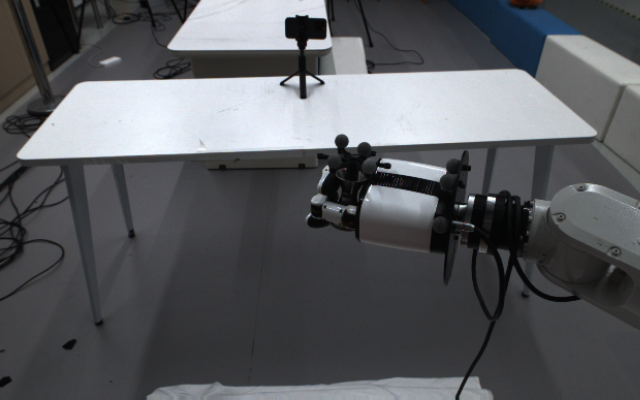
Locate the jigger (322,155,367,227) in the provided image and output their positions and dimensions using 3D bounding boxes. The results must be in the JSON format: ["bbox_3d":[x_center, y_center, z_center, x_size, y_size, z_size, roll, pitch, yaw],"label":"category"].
[{"bbox_3d":[0.034,-0.002,0.604,0.043,0.071,0.043,5,26,-3],"label":"jigger"}]
